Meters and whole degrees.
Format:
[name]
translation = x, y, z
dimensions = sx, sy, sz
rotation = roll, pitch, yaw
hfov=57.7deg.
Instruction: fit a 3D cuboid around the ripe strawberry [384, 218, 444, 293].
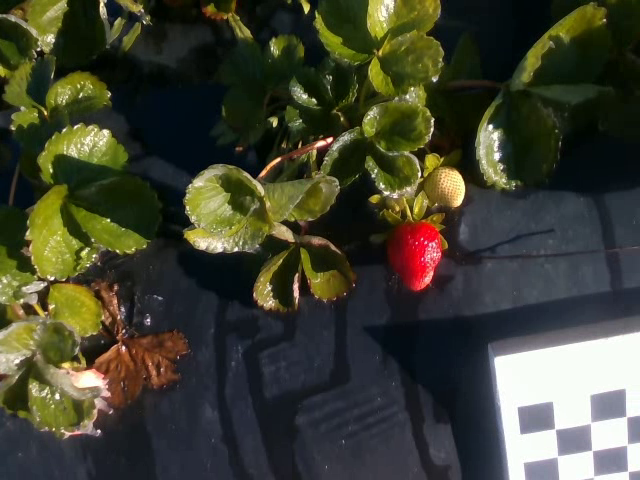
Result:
[ripe strawberry]
translation = 0.053, 0.012, 0.295
dimensions = 0.039, 0.039, 0.040
rotation = -17, -44, 18
